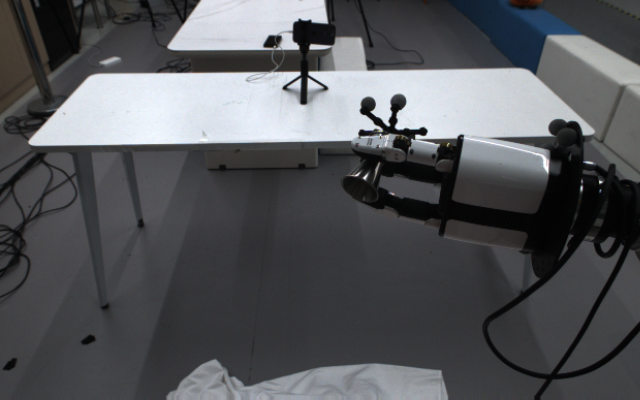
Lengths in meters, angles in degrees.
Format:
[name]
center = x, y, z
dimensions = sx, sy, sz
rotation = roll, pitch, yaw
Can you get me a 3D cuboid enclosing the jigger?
[jigger]
center = 0.056, -0.041, 0.522
dimensions = 0.043, 0.043, 0.071
rotation = 19, 61, 23
